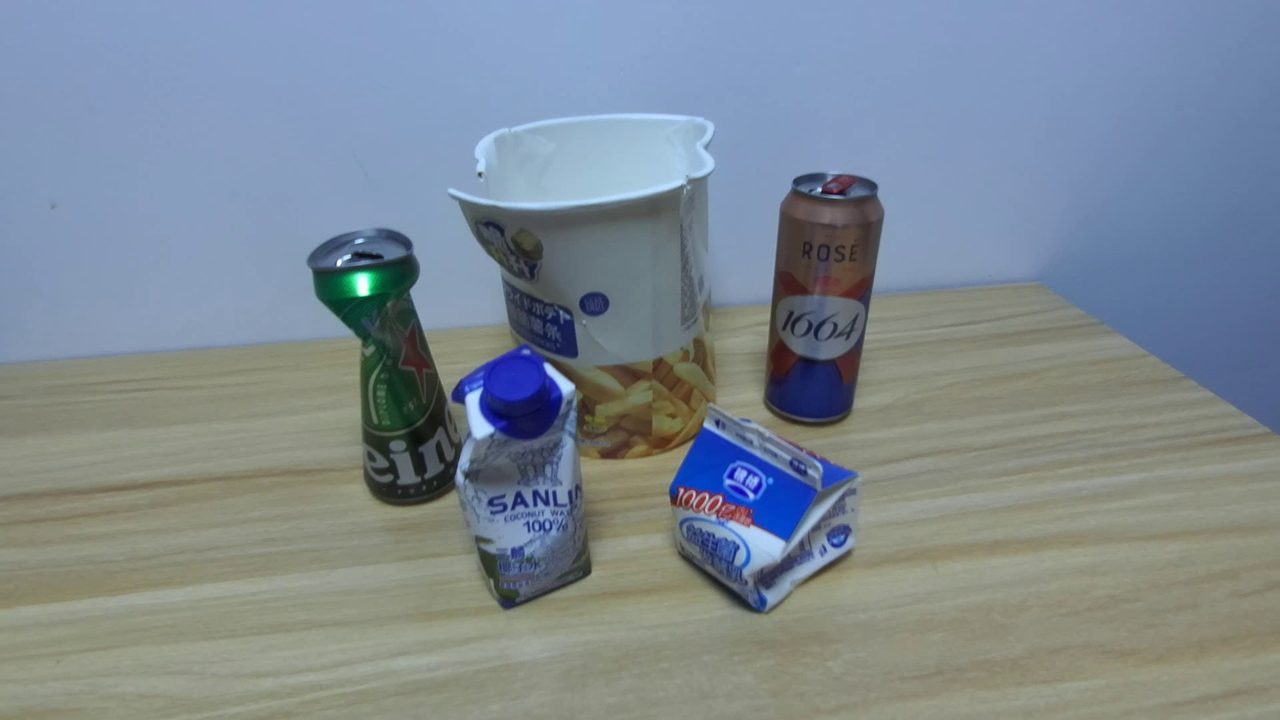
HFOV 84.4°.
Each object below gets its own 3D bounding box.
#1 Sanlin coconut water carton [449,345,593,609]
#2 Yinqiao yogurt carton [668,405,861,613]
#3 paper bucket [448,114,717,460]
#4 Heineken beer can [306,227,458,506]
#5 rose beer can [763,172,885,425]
[{"bbox_3d":[-0.064,0.055,0.360,0.061,0.144,0.069,-17,34,-22],"label":"Sanlin coconut water carton"},{"bbox_3d":[0.063,0.073,0.370,0.080,0.097,0.074,-34,42,-31],"label":"Yinqiao yogurt carton"},{"bbox_3d":[-0.020,-0.051,0.484,0.146,0.197,0.202,-2,30,2],"label":"paper bucket"},{"bbox_3d":[-0.148,0.006,0.428,0.066,0.164,0.078,12,34,24],"label":"Heineken beer can"},{"bbox_3d":[0.124,-0.038,0.488,0.068,0.169,0.068,0,30,0],"label":"rose beer can"}]
